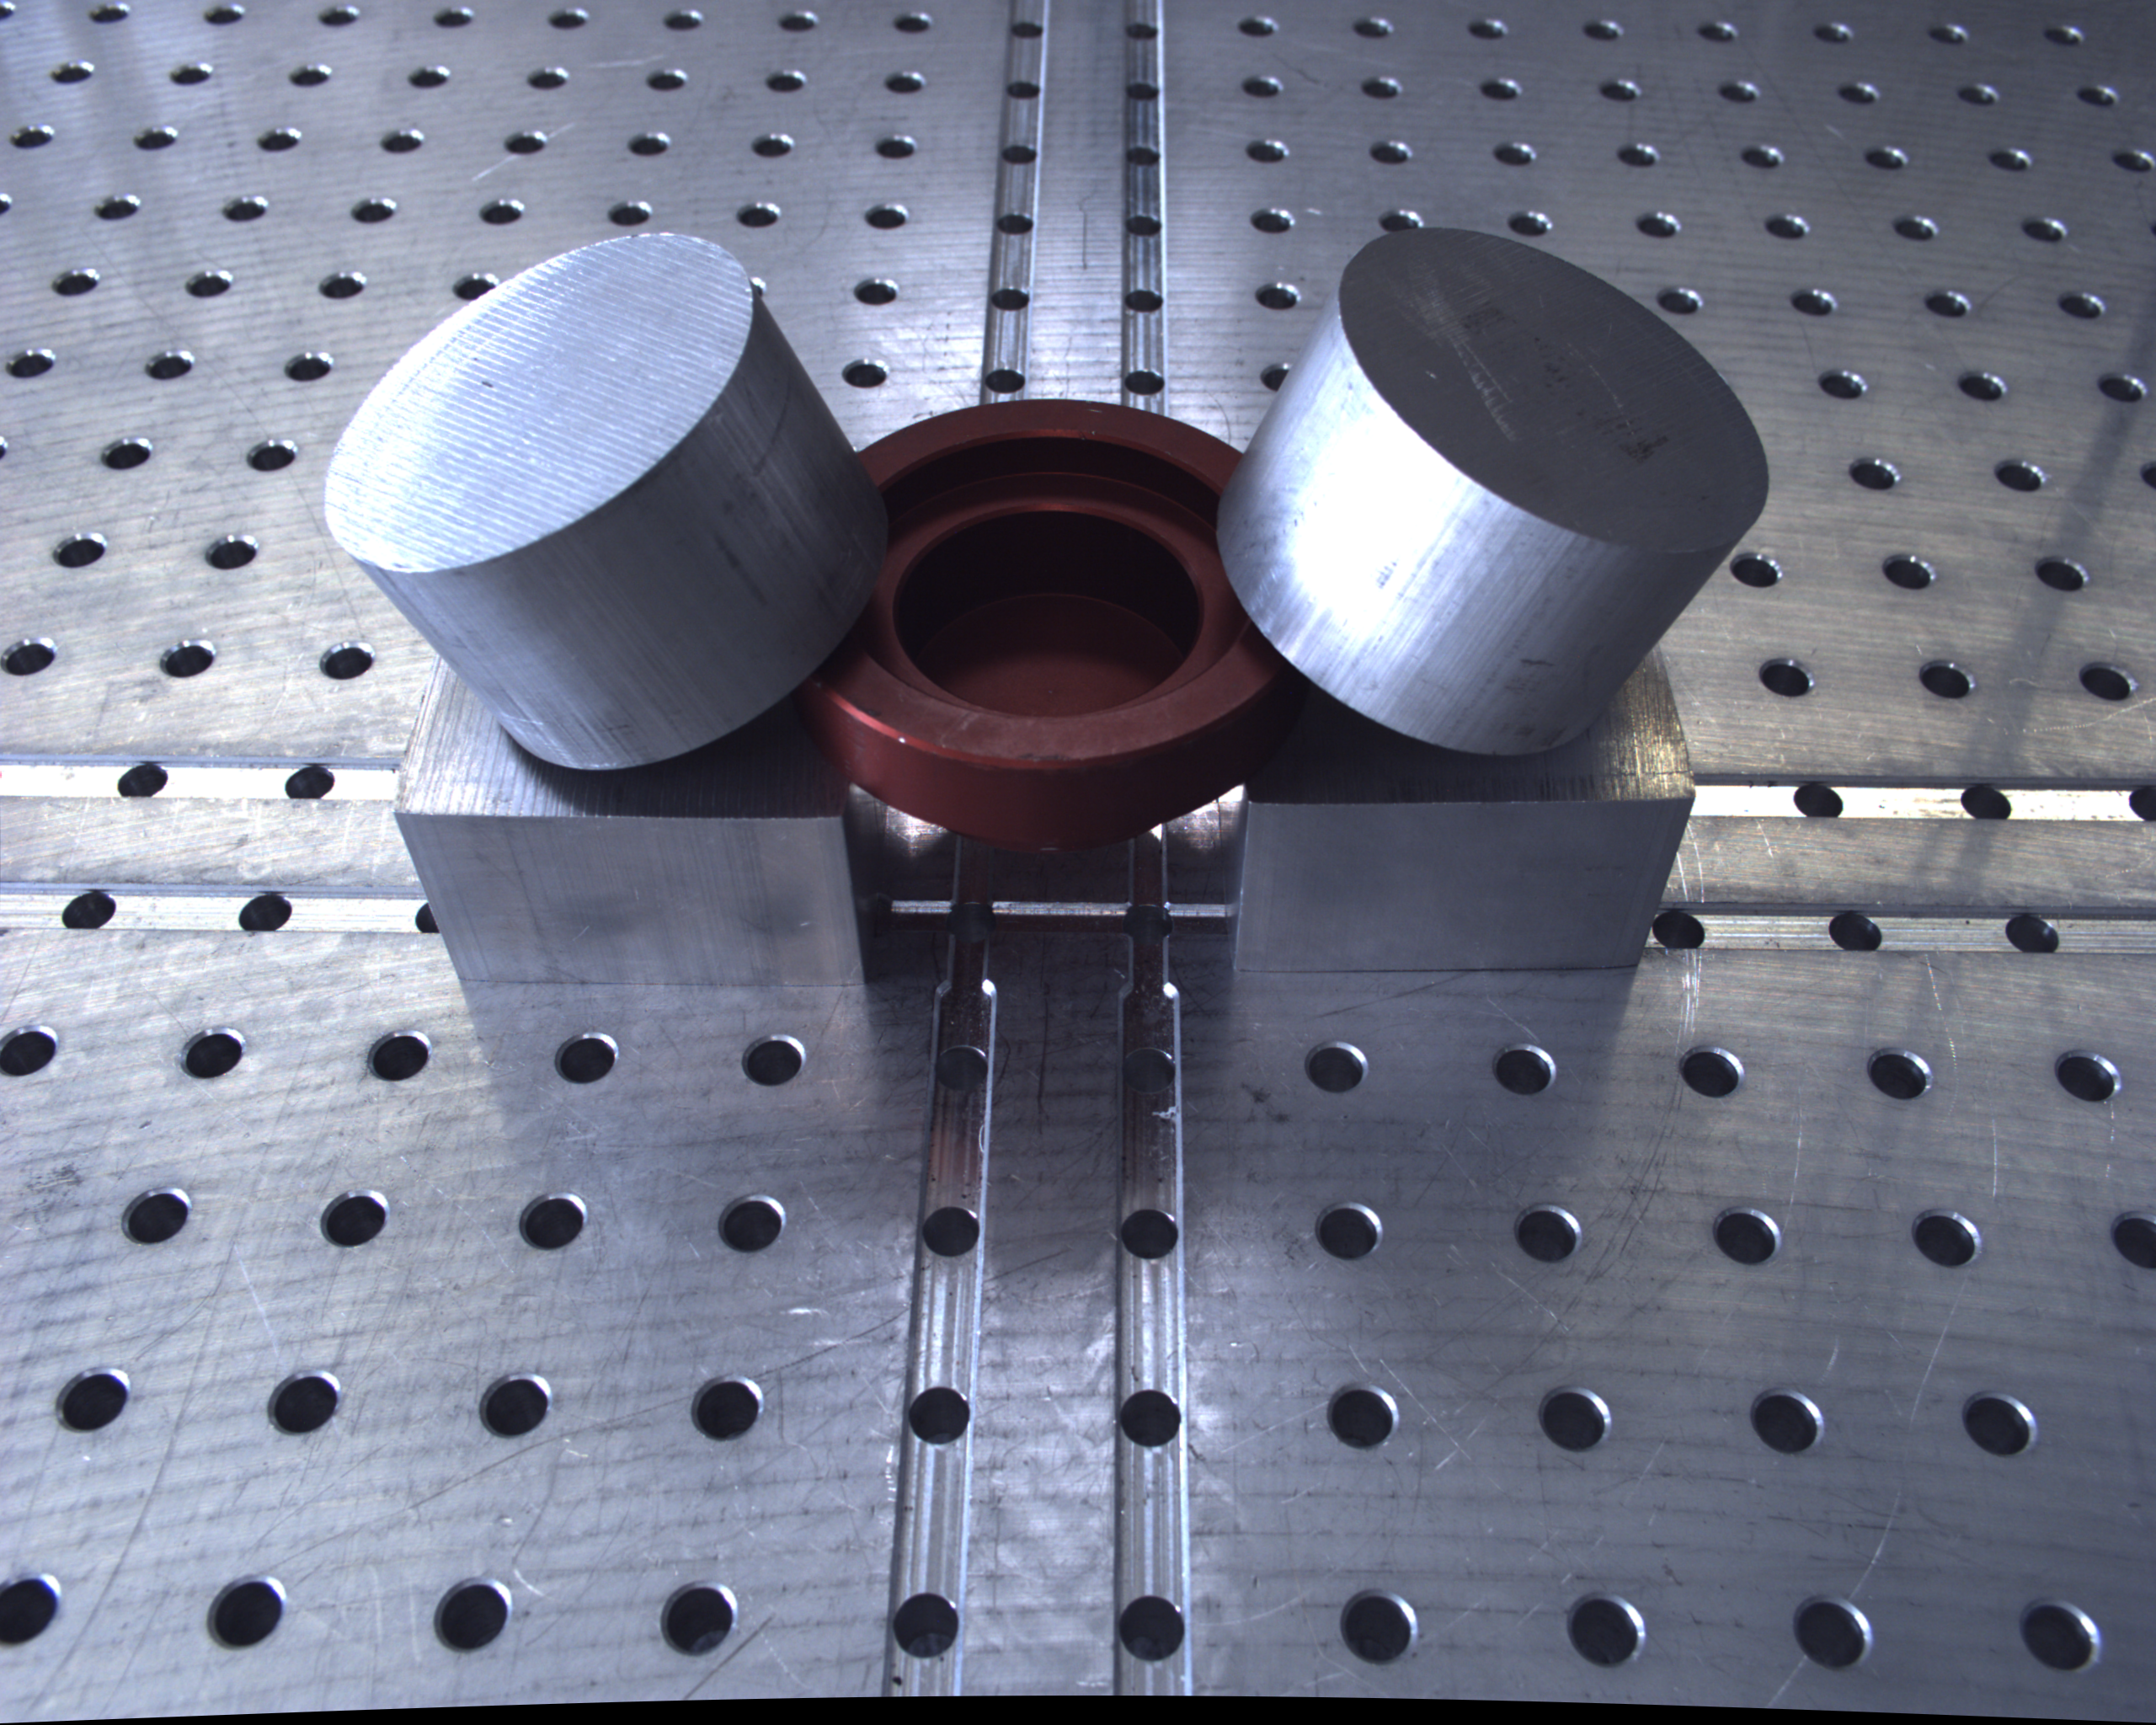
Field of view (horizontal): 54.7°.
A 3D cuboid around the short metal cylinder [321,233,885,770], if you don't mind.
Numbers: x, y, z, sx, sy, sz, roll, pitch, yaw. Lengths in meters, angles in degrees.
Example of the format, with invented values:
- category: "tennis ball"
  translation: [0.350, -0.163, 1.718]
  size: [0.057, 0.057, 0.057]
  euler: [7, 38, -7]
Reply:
- category: "short metal cylinder"
  translation: [-0.081, -0.063, 0.362]
  size: [0.080, 0.050, 0.080]
  euler: [-13, 49, 16]

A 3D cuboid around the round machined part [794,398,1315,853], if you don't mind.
- category: "round machined part"
  translation: [-0.005, -0.041, 0.392]
  size: [0.099, 0.042, 0.098]
  euler: [0, 50, 0]

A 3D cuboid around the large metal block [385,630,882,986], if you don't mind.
- category: "large metal block"
  translation: [-0.080, -0.023, 0.410]
  size: [0.080, 0.050, 0.080]
  euler: [1, 50, 0]

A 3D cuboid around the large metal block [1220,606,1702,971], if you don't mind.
- category: "large metal block"
  translation: [0.070, -0.026, 0.413]
  size: [0.081, 0.050, 0.080]
  euler: [-1, 50, -1]

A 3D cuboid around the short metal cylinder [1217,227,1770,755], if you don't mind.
- category: "short metal cylinder"
  translation: [0.071, -0.065, 0.365]
  size: [0.081, 0.050, 0.080]
  euler: [13, 48, -15]
